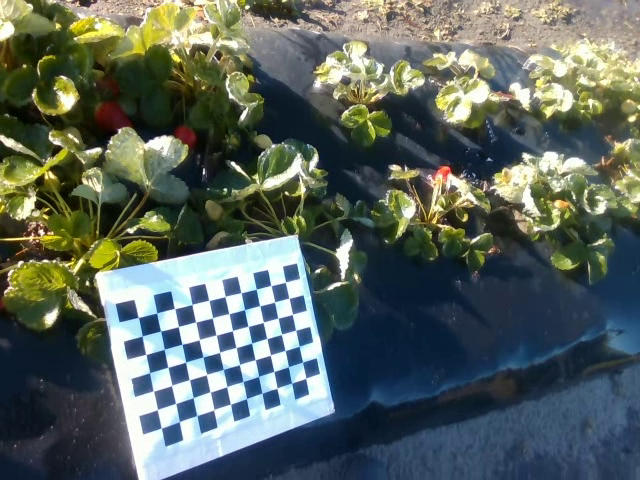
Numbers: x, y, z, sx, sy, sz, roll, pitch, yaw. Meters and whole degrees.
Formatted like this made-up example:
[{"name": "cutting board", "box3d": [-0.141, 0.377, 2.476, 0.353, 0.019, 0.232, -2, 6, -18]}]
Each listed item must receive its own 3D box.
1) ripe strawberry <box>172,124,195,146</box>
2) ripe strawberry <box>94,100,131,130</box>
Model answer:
[{"name": "ripe strawberry", "box3d": [-0.193, -0.143, 0.862, 0.039, 0.047, 0.040, 31, -38, -22]}, {"name": "ripe strawberry", "box3d": [-0.279, -0.167, 0.831, 0.056, 0.044, 0.040, 41, -30, -17]}]
